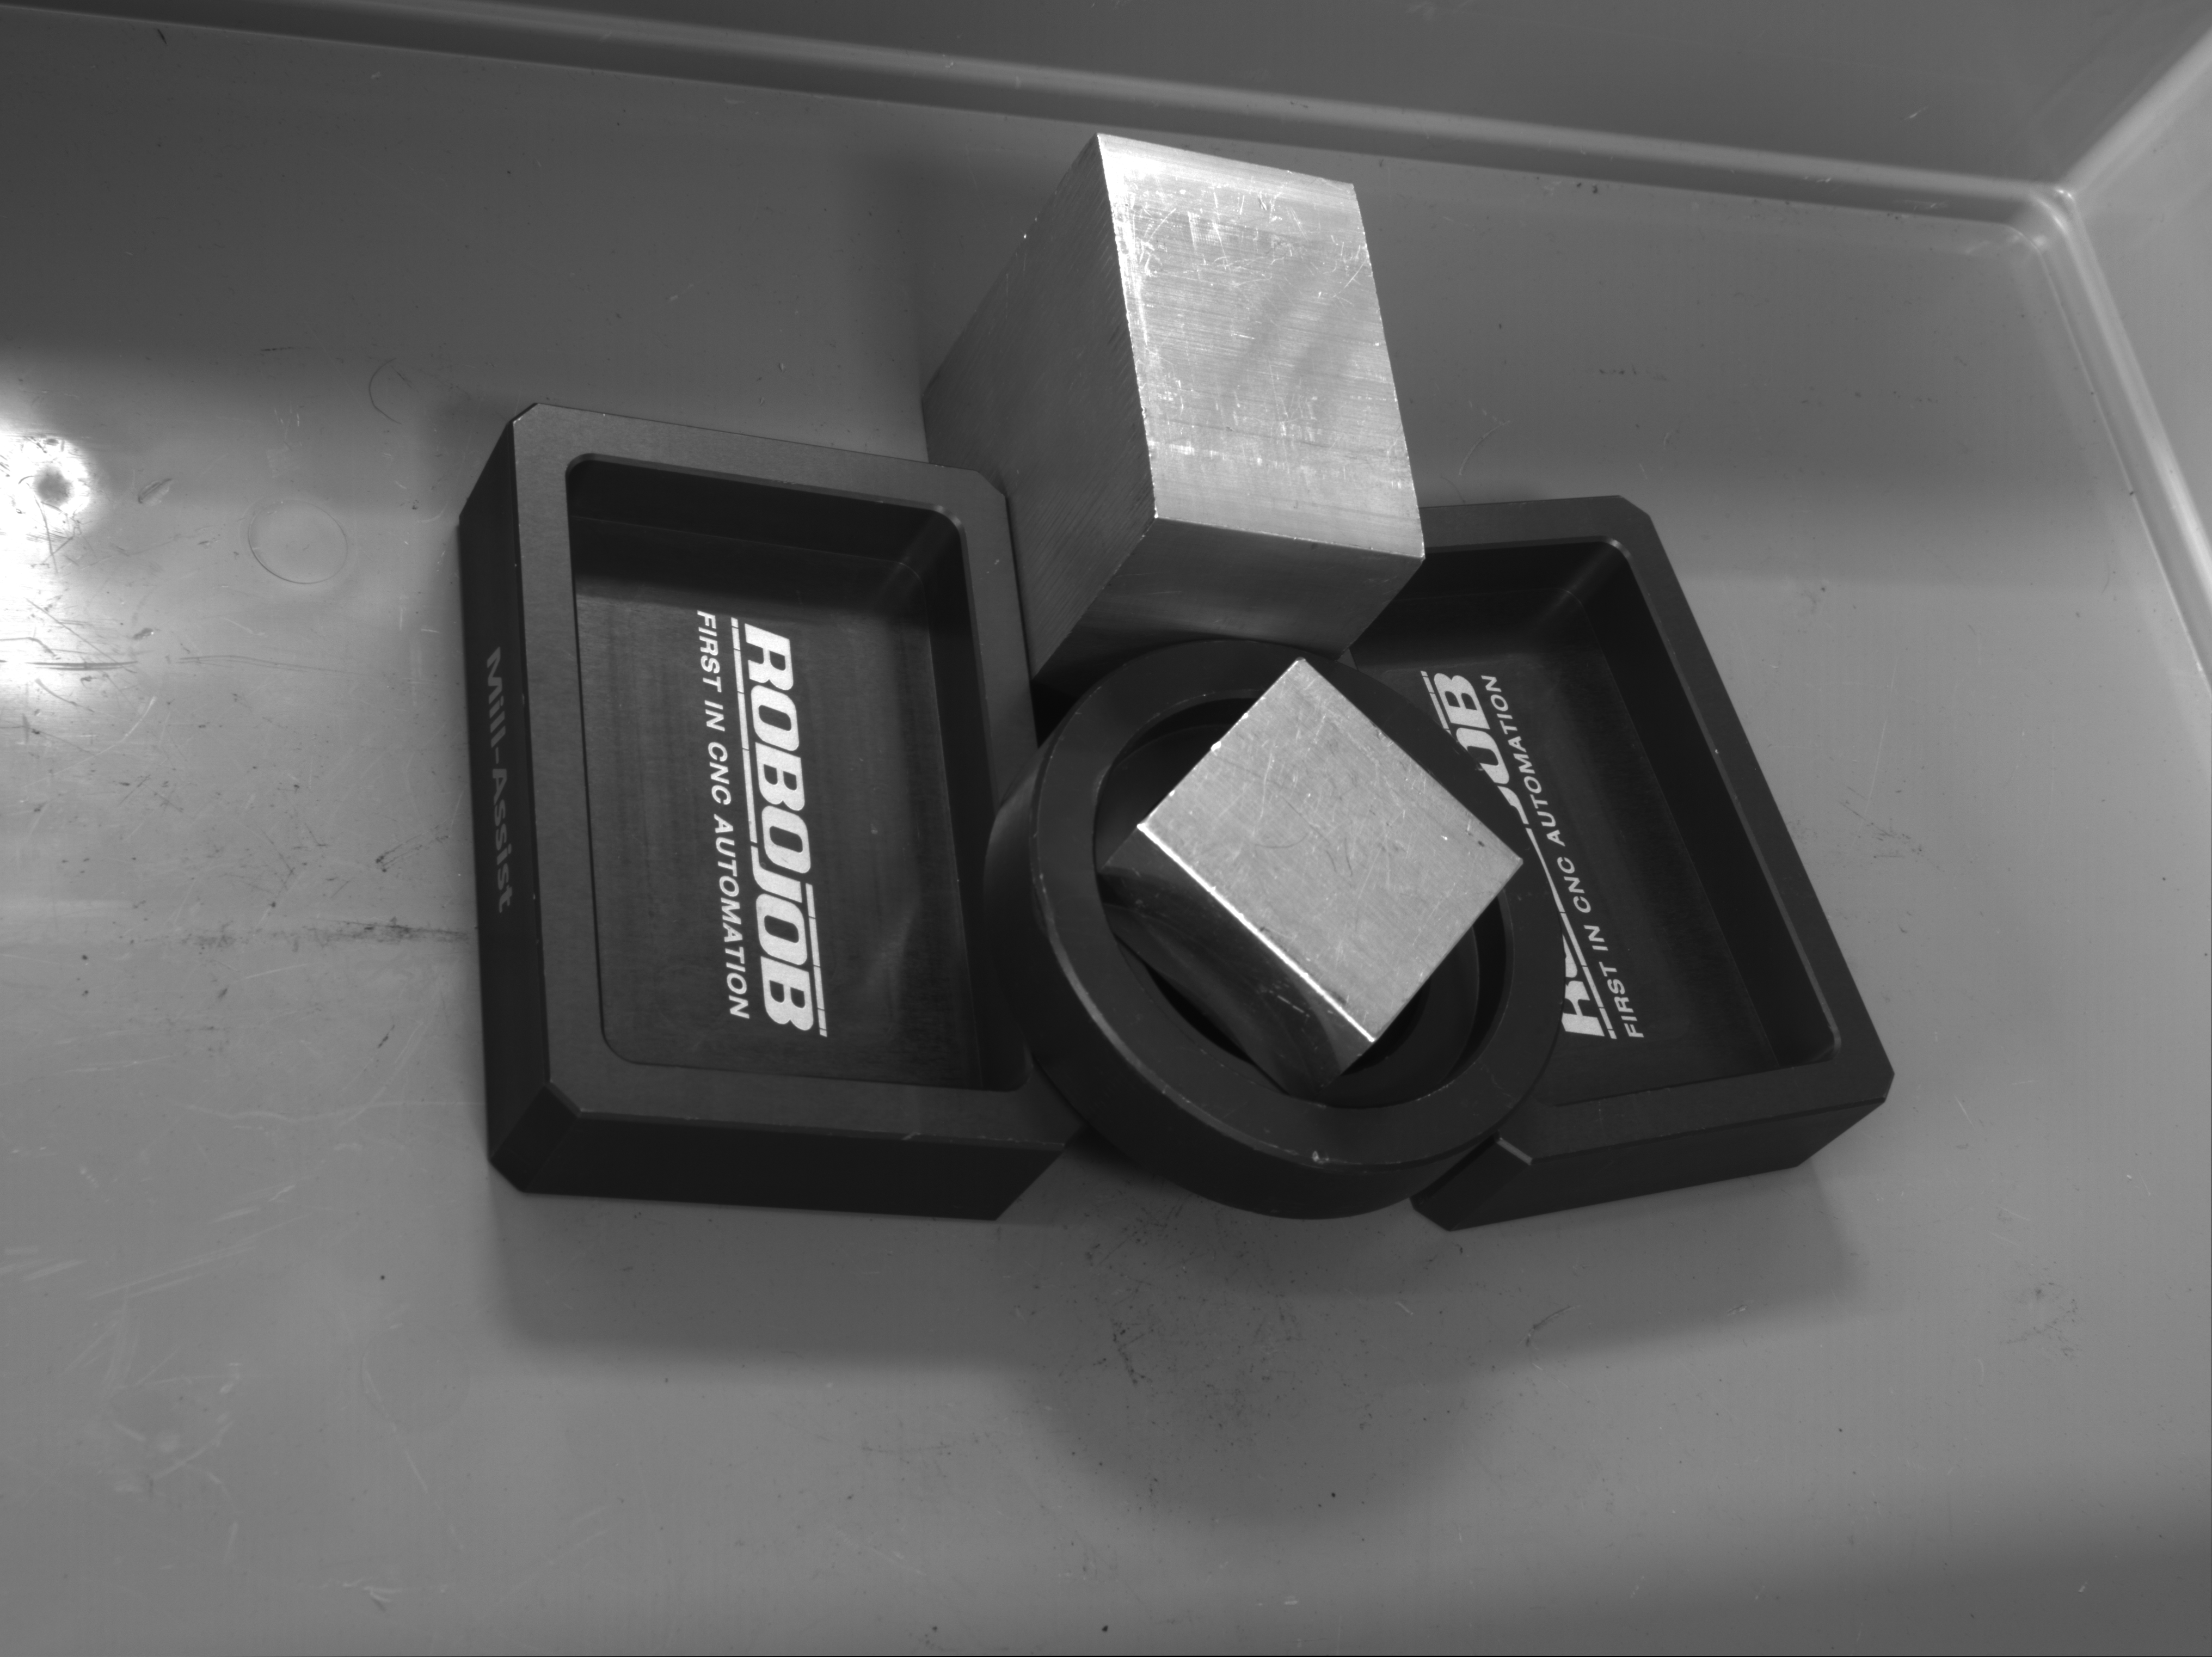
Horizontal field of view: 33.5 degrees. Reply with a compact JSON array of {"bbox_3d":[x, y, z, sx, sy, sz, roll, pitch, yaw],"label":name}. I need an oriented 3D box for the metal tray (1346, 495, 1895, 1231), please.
[{"bbox_3d":[0.080,0.003,0.675,0.090,0.030,0.130,-6,65,-31],"label":"metal tray"}]

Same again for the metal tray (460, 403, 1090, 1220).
[{"bbox_3d":[-0.056,-0.003,0.606,0.090,0.030,0.130,6,59,-25],"label":"metal tray"}]

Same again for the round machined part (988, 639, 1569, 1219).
[{"bbox_3d":[0.025,0.020,0.615,0.098,0.042,0.098,13,56,-21],"label":"round machined part"}]

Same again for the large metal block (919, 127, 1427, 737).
[{"bbox_3d":[0.009,-0.063,0.645,0.050,0.080,0.080,6,59,-25],"label":"large metal block"}]

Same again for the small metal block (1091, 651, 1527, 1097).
[{"bbox_3d":[0.032,0.008,0.596,0.050,0.025,0.050,43,51,2],"label":"small metal block"}]
